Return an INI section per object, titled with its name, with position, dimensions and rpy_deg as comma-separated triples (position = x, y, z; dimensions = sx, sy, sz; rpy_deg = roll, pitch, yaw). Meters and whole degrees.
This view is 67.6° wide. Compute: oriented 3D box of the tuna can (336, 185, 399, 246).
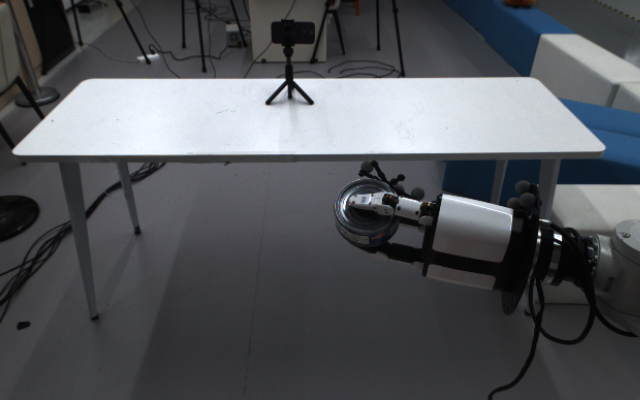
[tuna can]
position = 0.065, 0.021, 0.621
dimensions = 0.085, 0.034, 0.085
rpy_deg = -4, 58, 6
